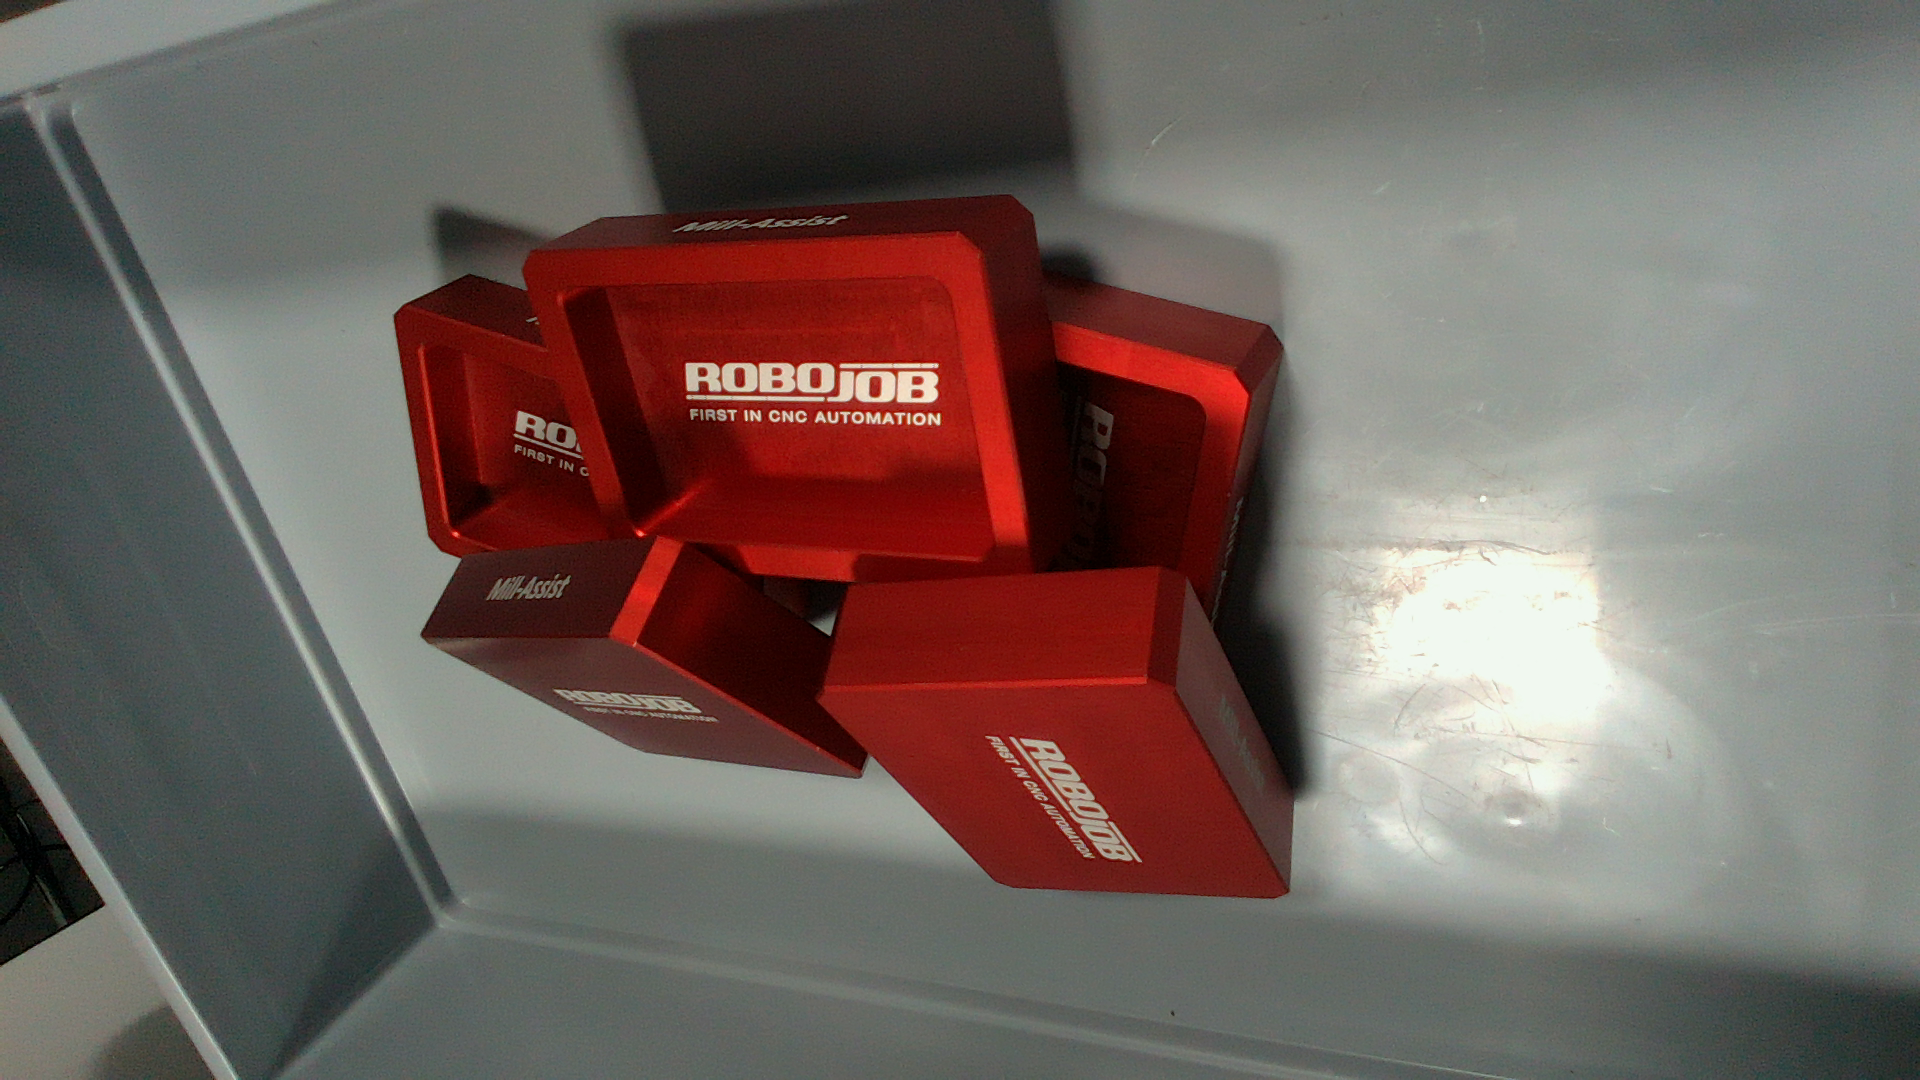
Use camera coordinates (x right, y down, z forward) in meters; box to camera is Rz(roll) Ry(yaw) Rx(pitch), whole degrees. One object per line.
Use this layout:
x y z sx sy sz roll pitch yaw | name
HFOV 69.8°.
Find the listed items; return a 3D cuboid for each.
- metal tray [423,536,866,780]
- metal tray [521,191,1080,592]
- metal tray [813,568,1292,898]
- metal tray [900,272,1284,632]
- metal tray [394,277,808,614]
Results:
-0.093 0.036 0.417 0.129 0.030 0.090 -4 147 48 | metal tray
-0.040 -0.036 0.348 0.130 0.030 0.090 3 120 27 | metal tray
0.031 0.056 0.365 0.090 0.030 0.130 -4 145 24 | metal tray
0.028 -0.003 0.371 0.090 0.030 0.130 18 126 18 | metal tray
-0.111 -0.022 0.432 0.130 0.030 0.090 18 126 18 | metal tray
